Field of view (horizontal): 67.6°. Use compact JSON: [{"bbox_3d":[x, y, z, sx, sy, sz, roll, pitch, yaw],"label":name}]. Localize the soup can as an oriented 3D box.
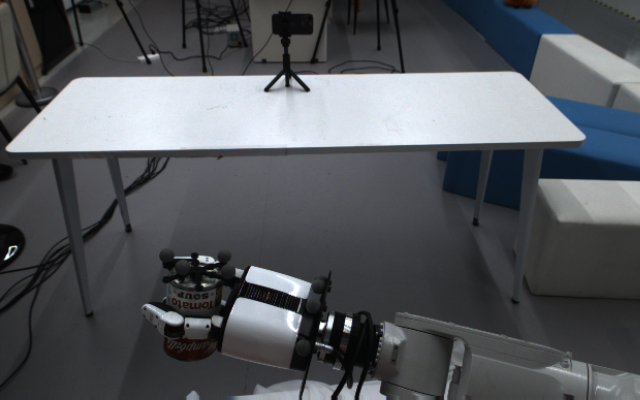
[{"bbox_3d":[-0.156,0.137,0.598,0.067,0.101,0.067,8,19,-3],"label":"soup can"}]
